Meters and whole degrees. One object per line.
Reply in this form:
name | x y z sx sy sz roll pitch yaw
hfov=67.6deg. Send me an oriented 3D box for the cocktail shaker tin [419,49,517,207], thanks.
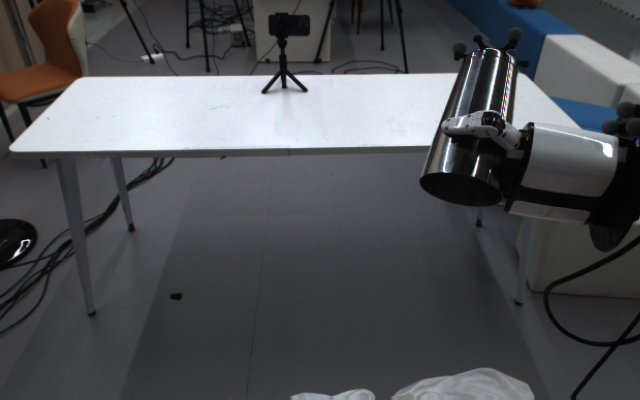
cocktail shaker tin | 0.182 -0.089 0.568 0.093 0.093 0.170 14 72 16
